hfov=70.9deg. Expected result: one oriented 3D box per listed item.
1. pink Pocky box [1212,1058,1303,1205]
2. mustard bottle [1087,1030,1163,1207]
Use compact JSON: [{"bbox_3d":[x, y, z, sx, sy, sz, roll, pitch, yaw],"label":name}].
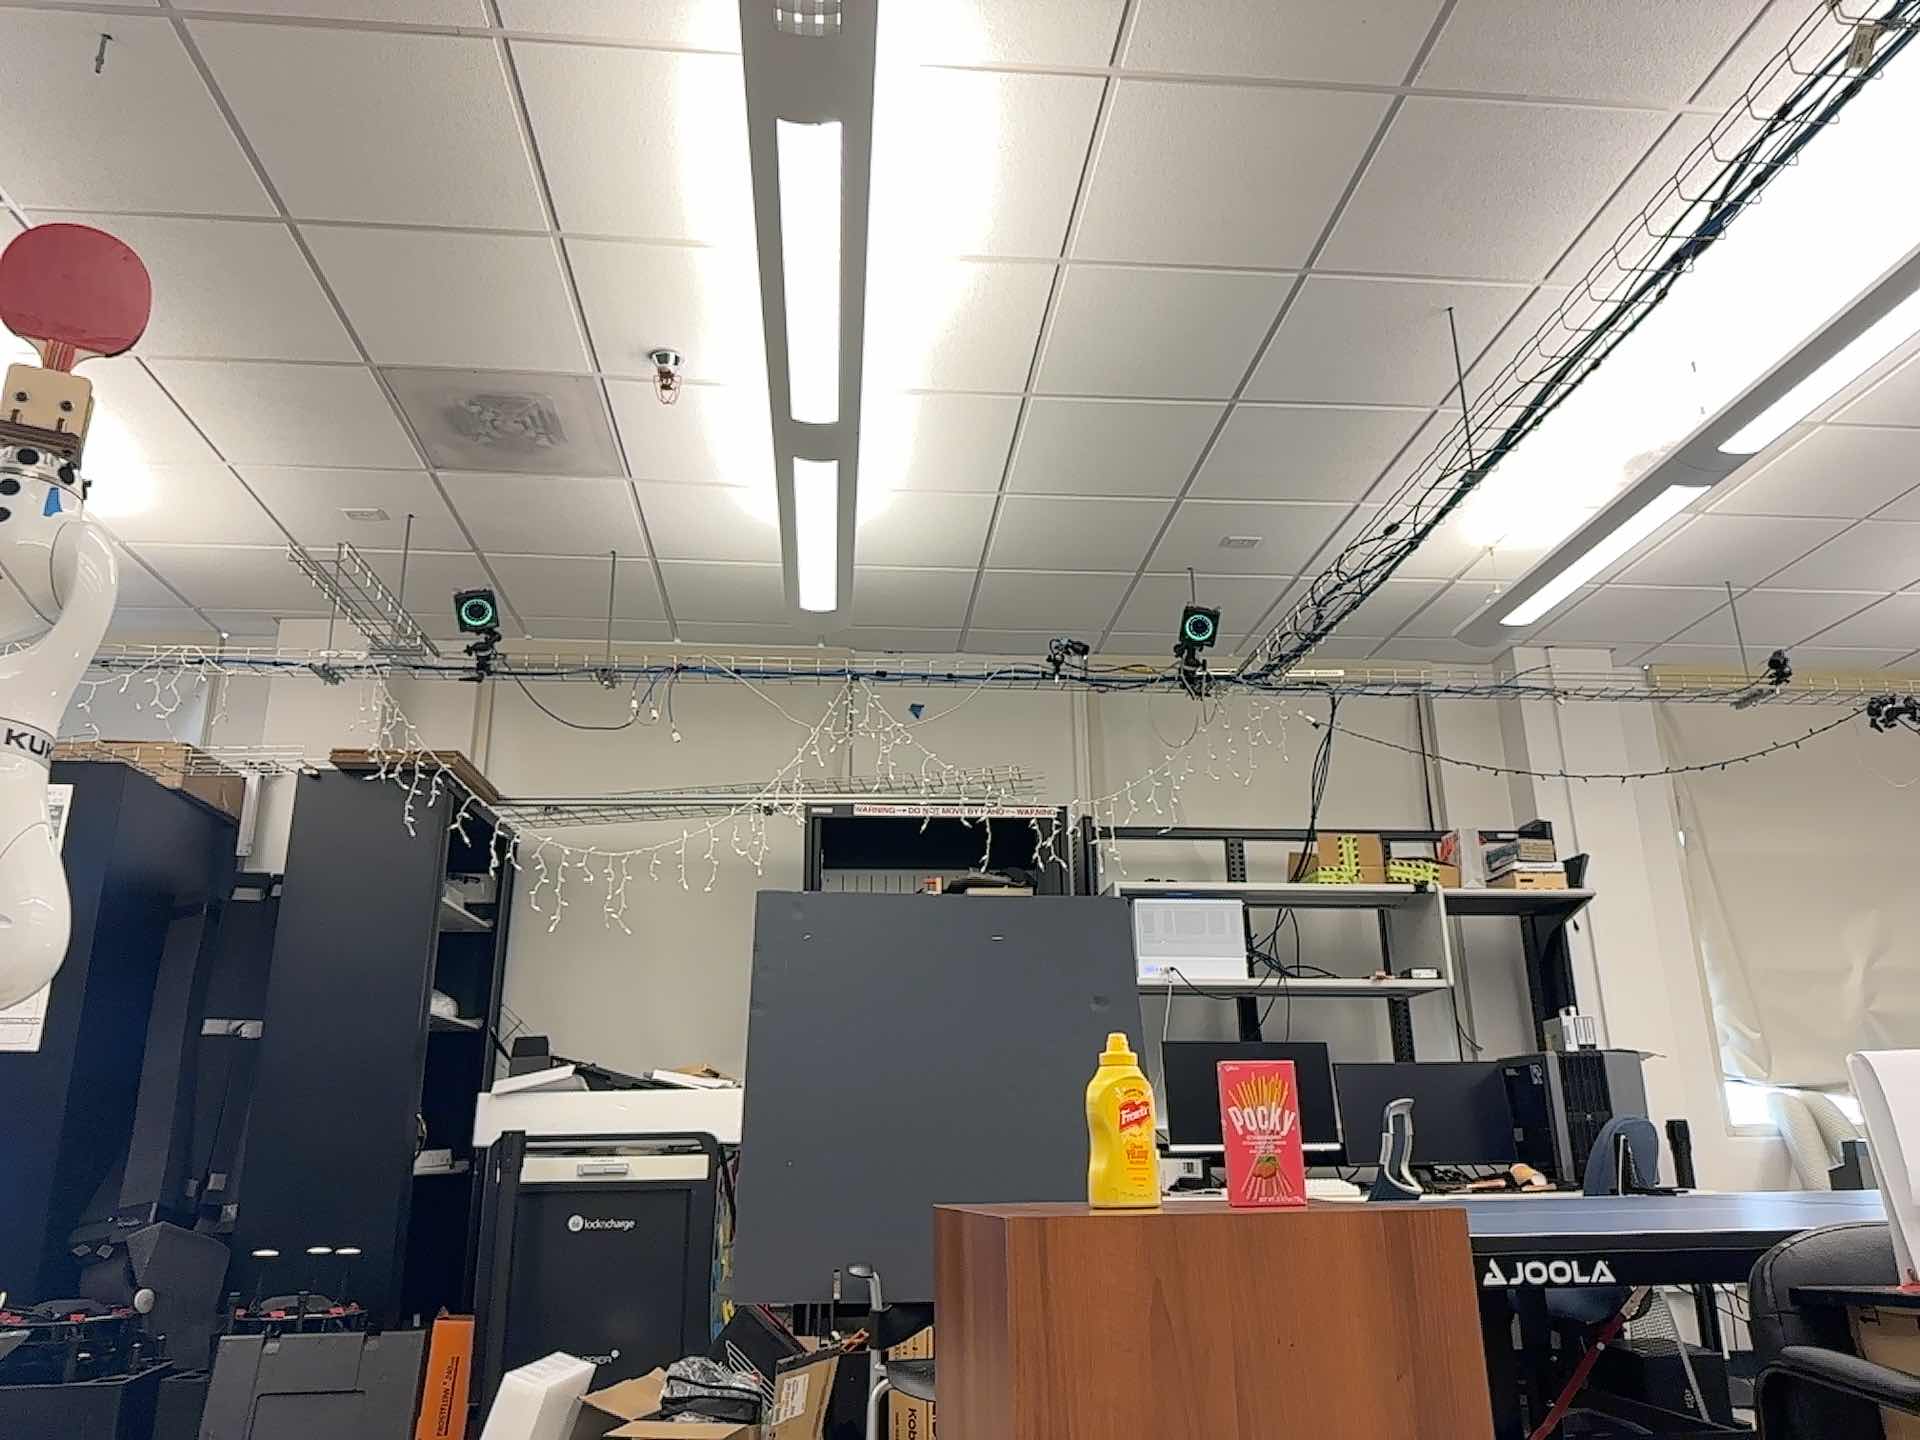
[{"bbox_3d":[0.331,0.457,1.504,0.084,0.154,0.029,-1,-18,1],"label":"pink Pocky box"},{"bbox_3d":[0.177,0.434,1.477,0.092,0.184,0.054,10,-20,-32],"label":"mustard bottle"}]
